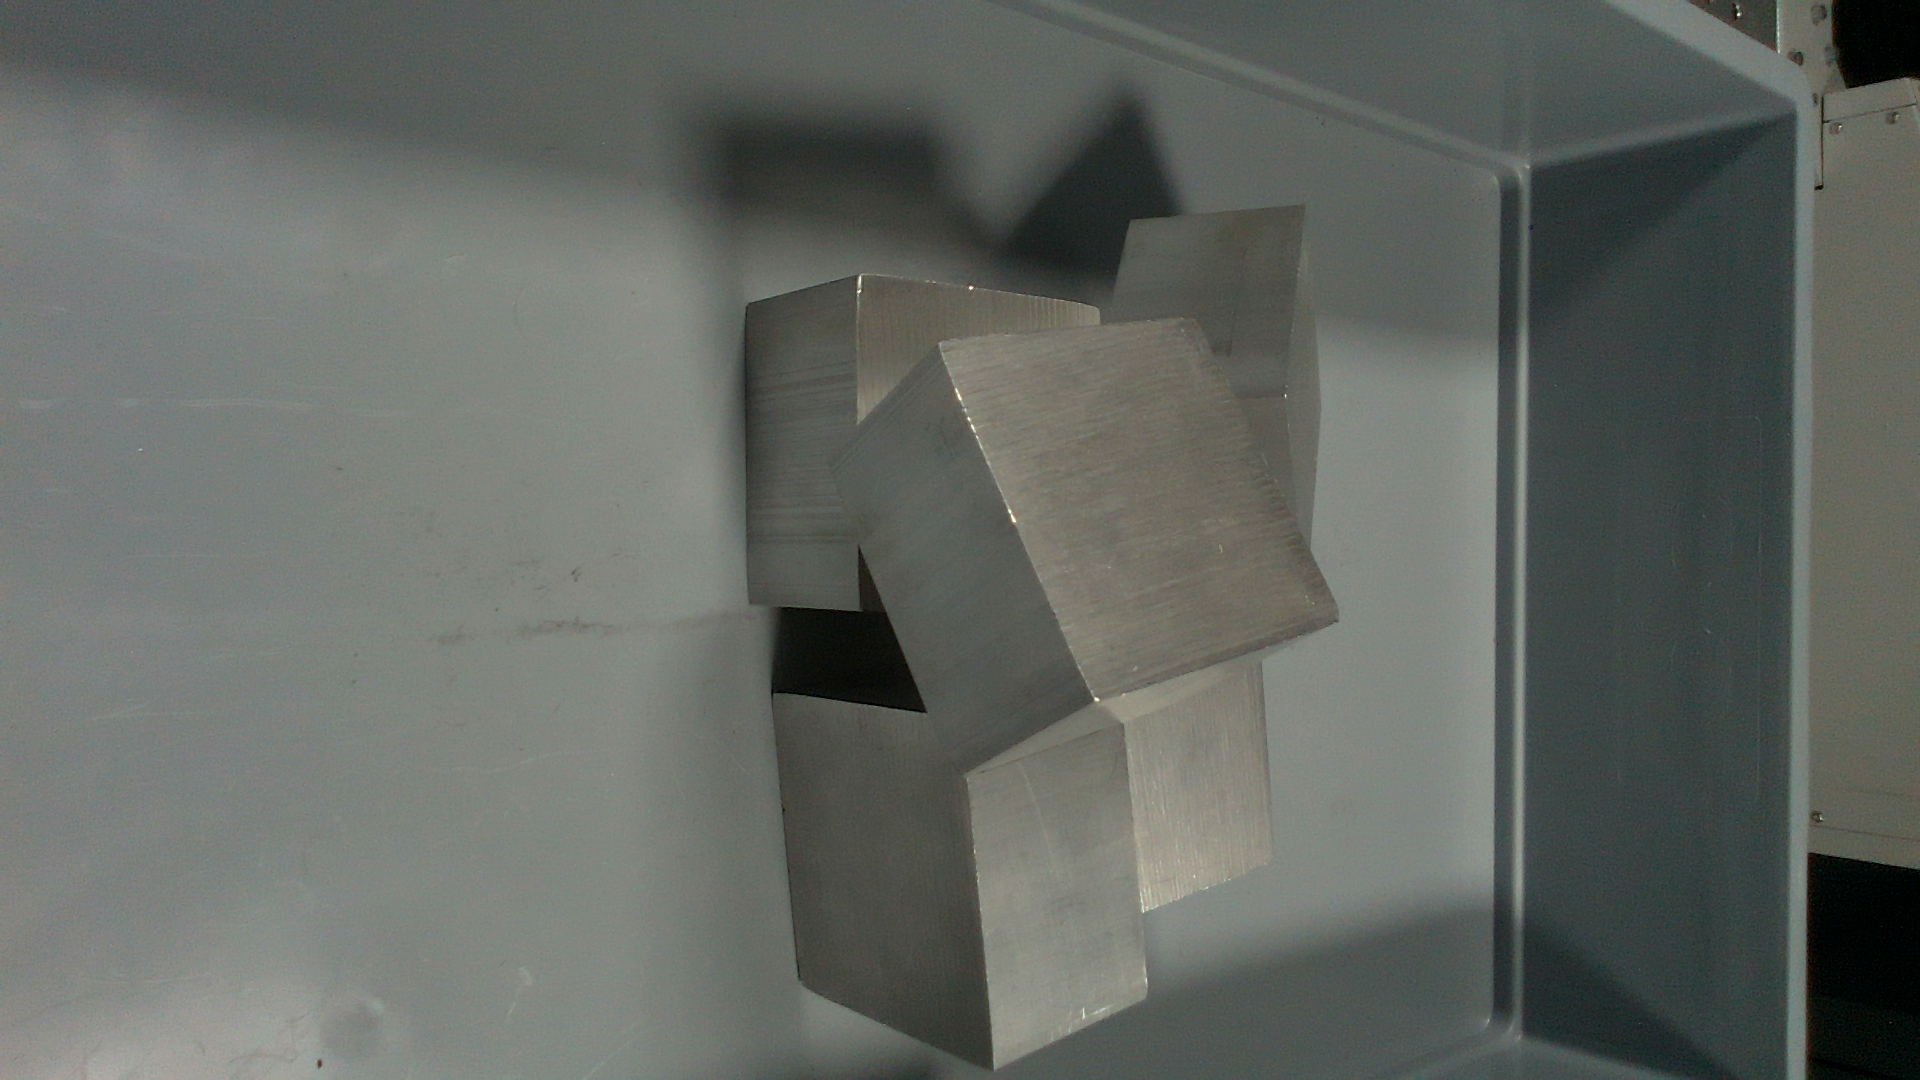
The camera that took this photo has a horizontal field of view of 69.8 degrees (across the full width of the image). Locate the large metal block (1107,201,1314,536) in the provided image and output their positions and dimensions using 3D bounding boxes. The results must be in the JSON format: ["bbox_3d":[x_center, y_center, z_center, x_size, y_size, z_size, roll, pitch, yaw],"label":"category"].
[{"bbox_3d":[0.075,-0.039,0.401,0.080,0.050,0.080,69,27,-45],"label":"large metal block"}]

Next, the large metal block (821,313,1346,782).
[{"bbox_3d":[0.027,-0.001,0.310,0.080,0.050,0.080,-12,73,-39],"label":"large metal block"}]

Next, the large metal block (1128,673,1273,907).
[{"bbox_3d":[0.045,0.060,0.406,0.080,0.050,0.080,-7,95,-40],"label":"large metal block"}]

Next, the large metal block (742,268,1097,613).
[{"bbox_3d":[-0.009,-0.024,0.364,0.080,0.050,0.080,-1,91,-40],"label":"large metal block"}]

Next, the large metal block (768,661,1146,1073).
[{"bbox_3d":[-0.002,0.076,0.350,0.050,0.080,0.080,-9,96,-39],"label":"large metal block"}]
